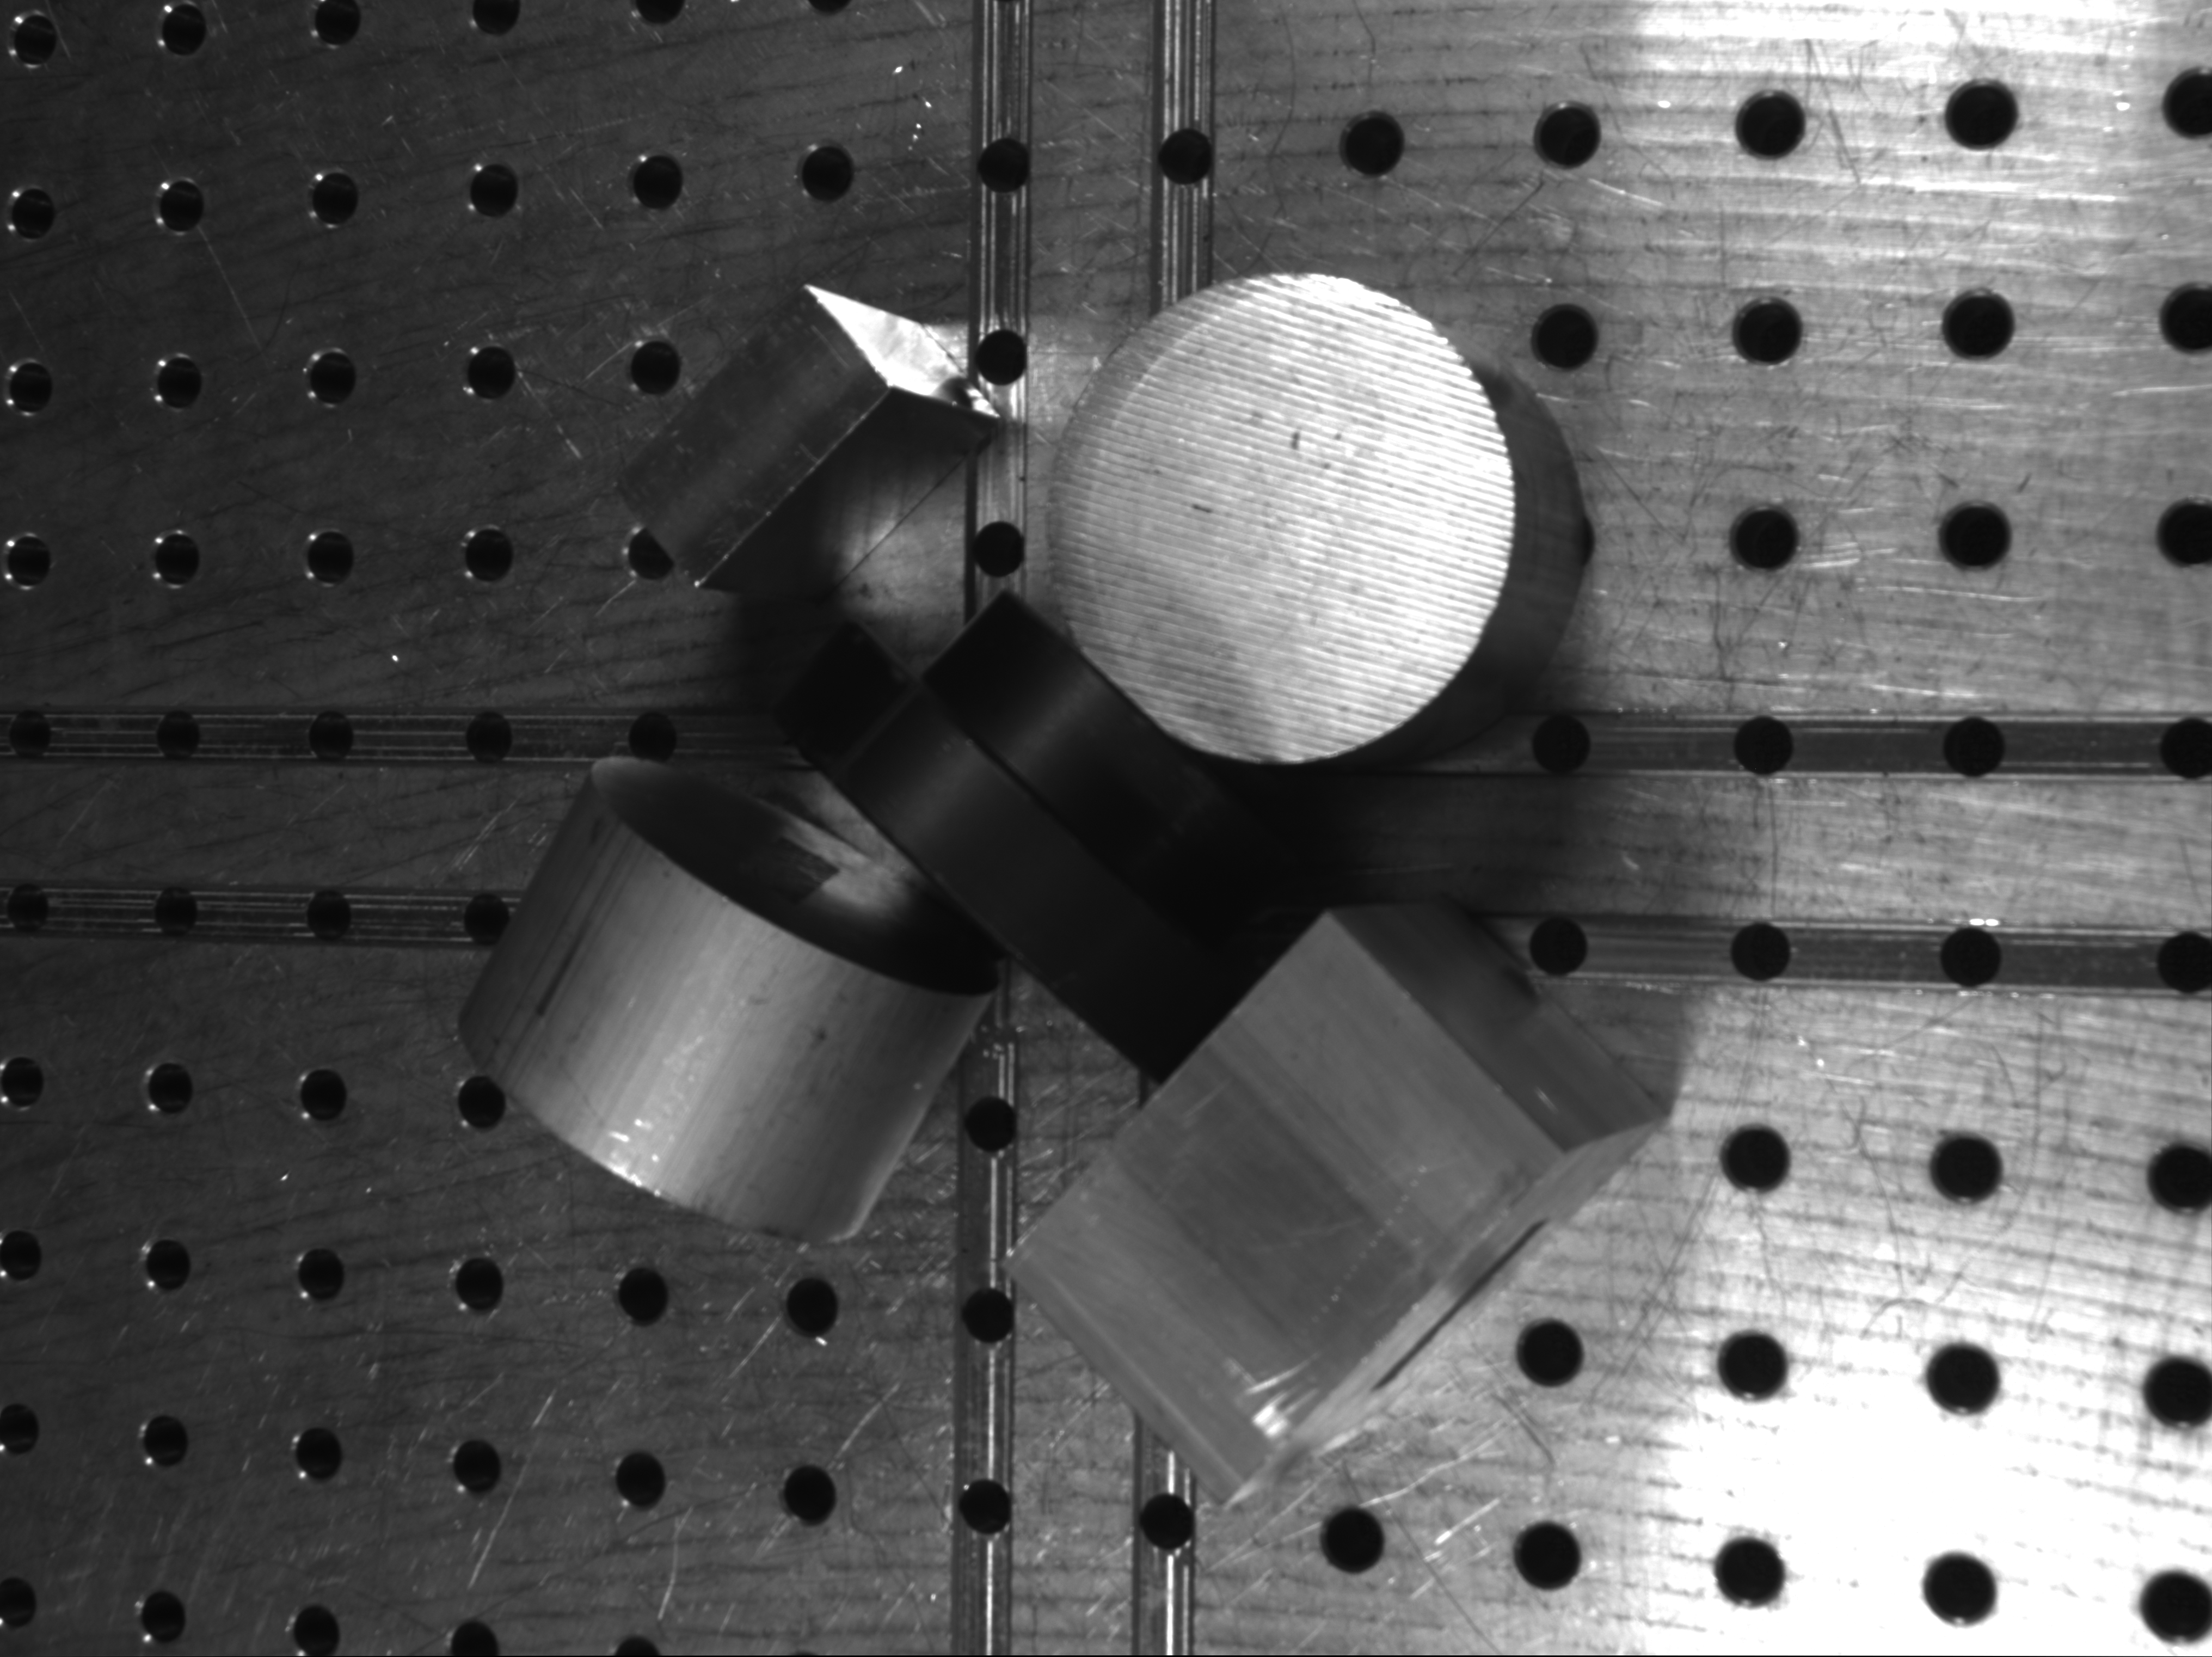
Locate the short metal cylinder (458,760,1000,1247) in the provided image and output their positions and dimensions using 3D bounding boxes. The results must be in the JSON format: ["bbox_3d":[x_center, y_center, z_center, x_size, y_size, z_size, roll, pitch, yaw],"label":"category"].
[{"bbox_3d":[-0.066,0.030,0.641,0.080,0.080,0.050,33,100,17],"label":"short metal cylinder"}]

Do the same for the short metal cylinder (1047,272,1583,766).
[{"bbox_3d":[0.036,-0.051,0.620,0.080,0.050,0.080,0,90,20],"label":"short metal cylinder"}]

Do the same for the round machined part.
[{"bbox_3d":[-0.007,-0.002,0.611,0.098,0.098,0.042,43,91,15],"label":"round machined part"}]

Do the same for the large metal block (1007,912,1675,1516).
[{"bbox_3d":[0.041,0.061,0.603,0.050,0.080,0.080,45,104,14],"label":"large metal block"}]

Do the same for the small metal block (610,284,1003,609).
[{"bbox_3d":[-0.052,-0.067,0.652,0.050,0.050,0.025,-44,76,14],"label":"small metal block"}]
